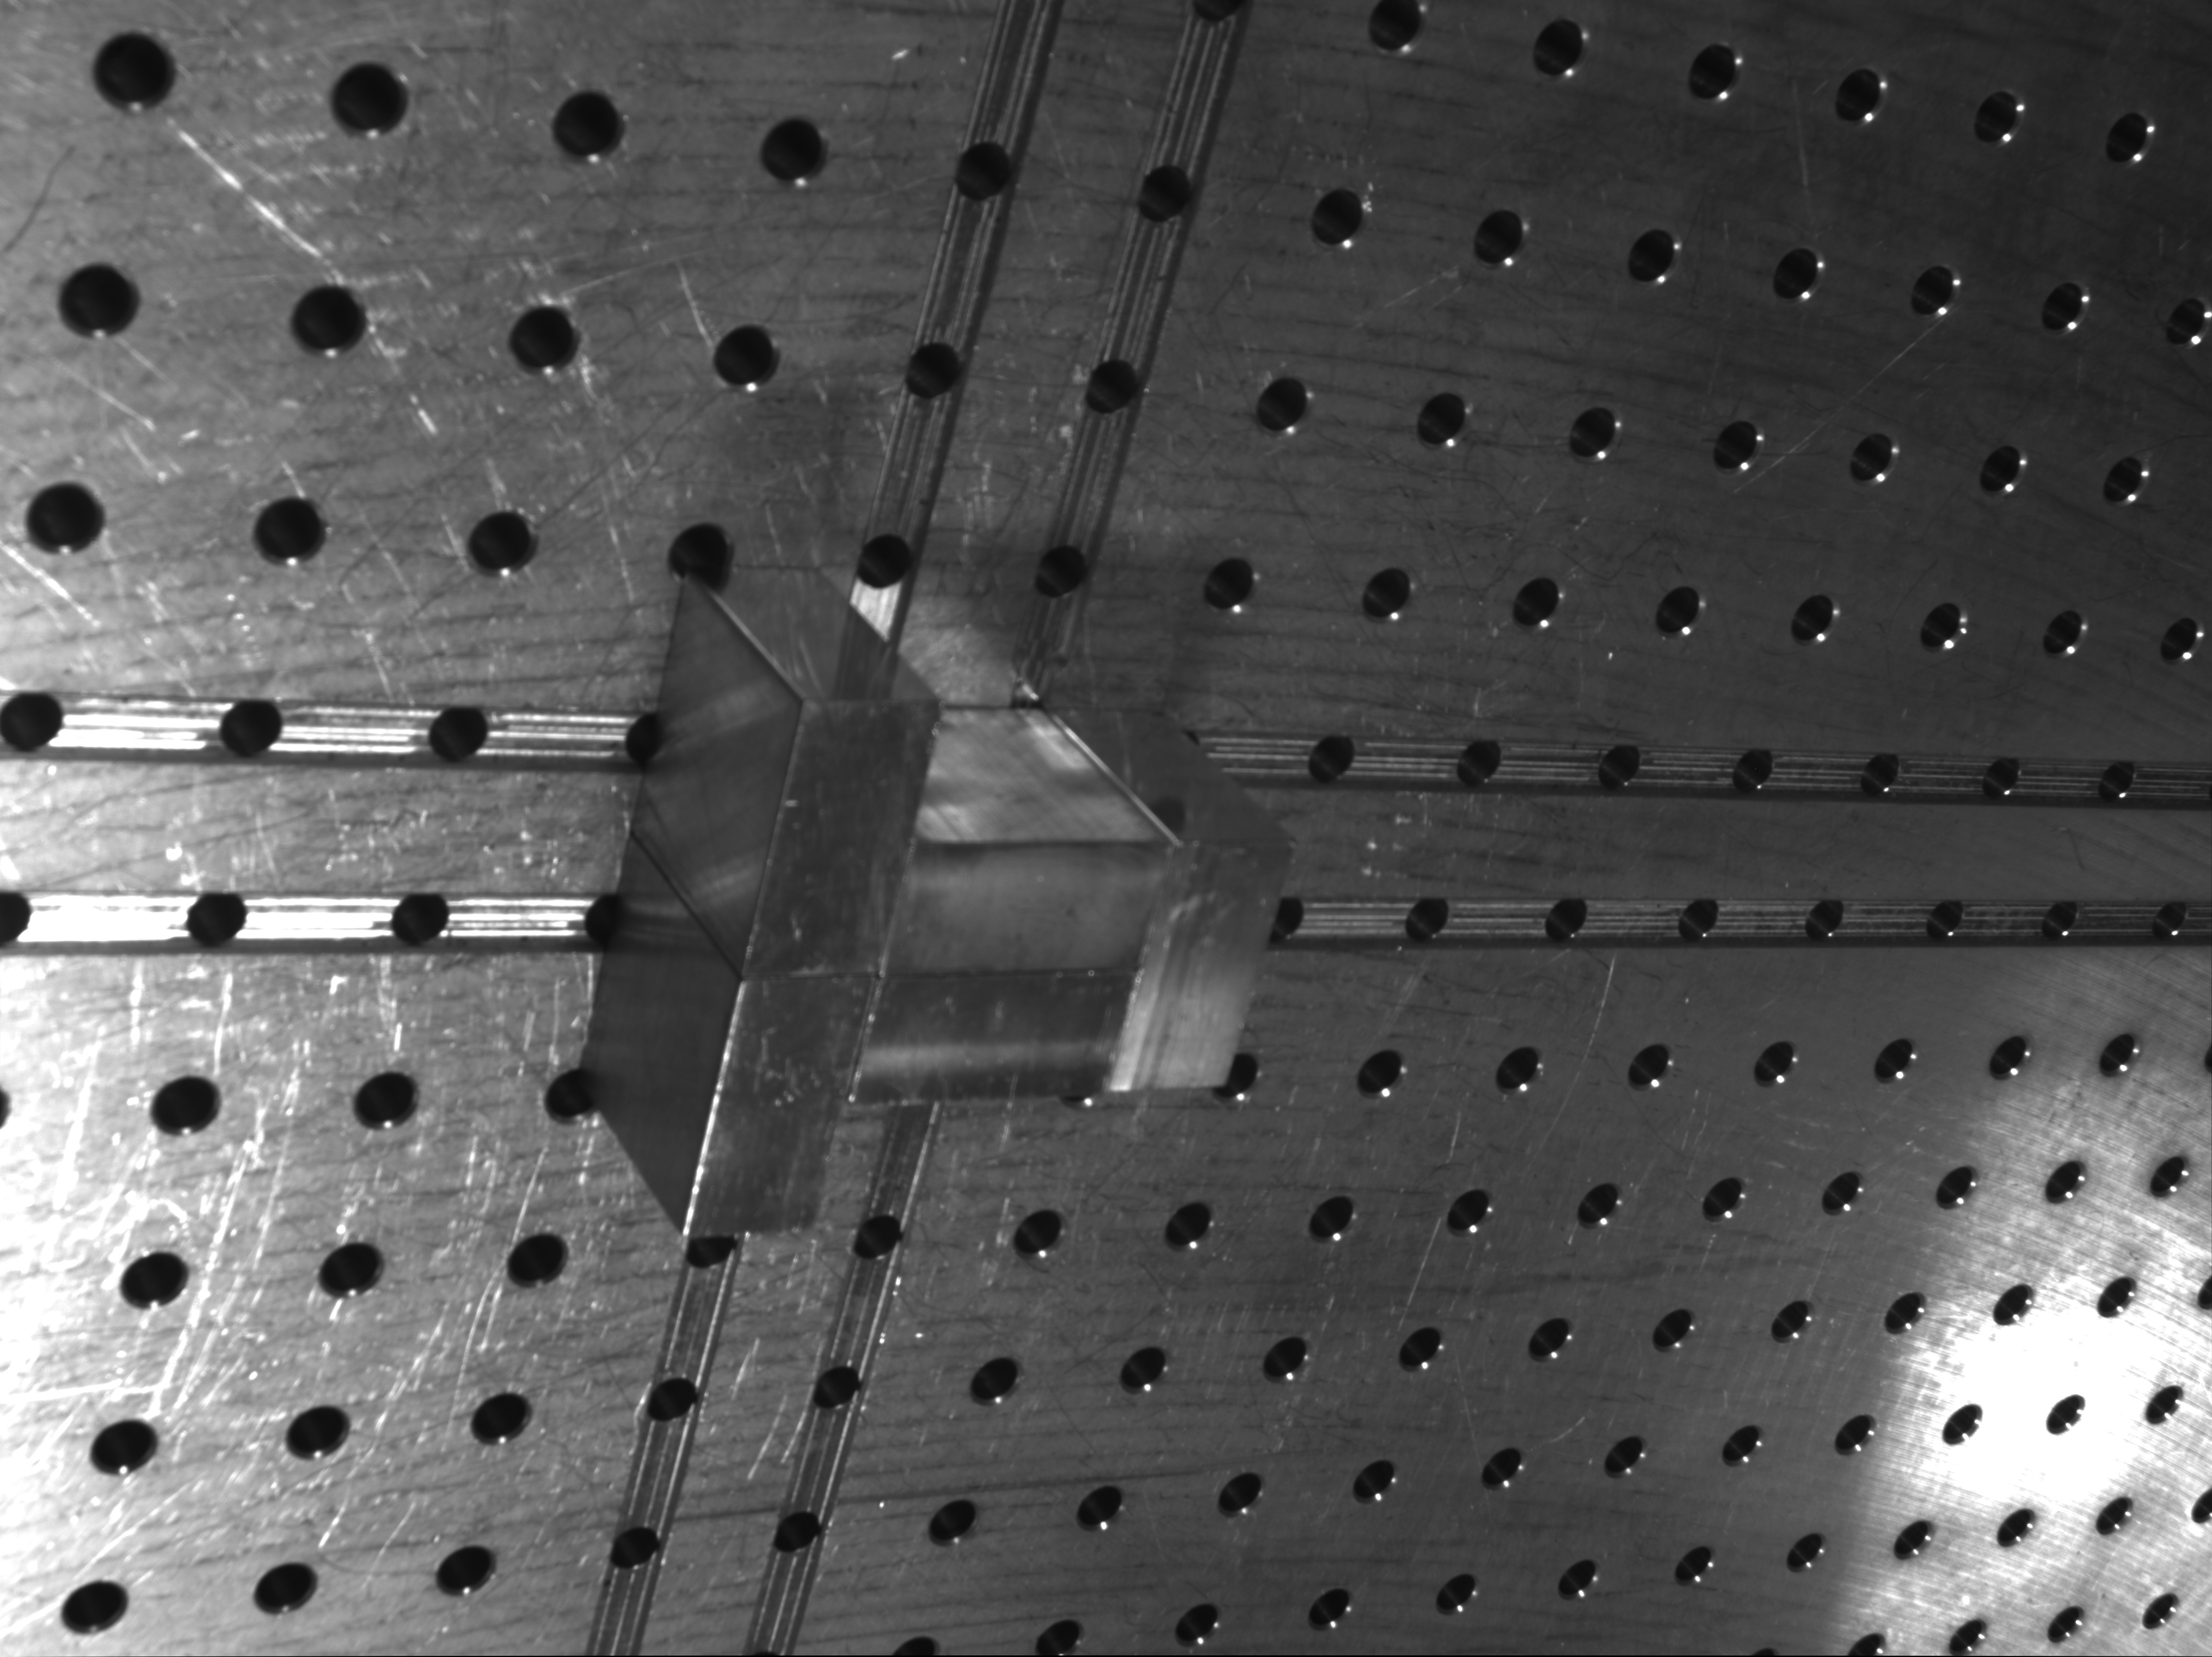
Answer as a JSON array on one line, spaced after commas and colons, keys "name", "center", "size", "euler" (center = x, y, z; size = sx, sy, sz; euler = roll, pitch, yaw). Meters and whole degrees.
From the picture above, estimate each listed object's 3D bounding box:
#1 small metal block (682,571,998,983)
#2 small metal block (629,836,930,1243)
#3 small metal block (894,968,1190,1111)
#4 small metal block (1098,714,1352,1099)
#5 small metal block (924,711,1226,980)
[{"name": "small metal block", "center": [-0.045, -0.009, 0.605], "size": [0.025, 0.050, 0.050], "euler": [0, 118, -30]}, {"name": "small metal block", "center": [-0.057, 0.035, 0.625], "size": [0.025, 0.050, 0.050], "euler": [0, 118, -30]}, {"name": "small metal block", "center": [-0.021, 0.025, 0.639], "size": [0.050, 0.050, 0.025], "euler": [0, 118, -30]}, {"name": "small metal block", "center": [0.015, 0.013, 0.653], "size": [0.025, 0.050, 0.050], "euler": [0, 118, -30]}, {"name": "small metal block", "center": [-0.015, 0.002, 0.629], "size": [0.050, 0.050, 0.025], "euler": [0, 118, -30]}]
